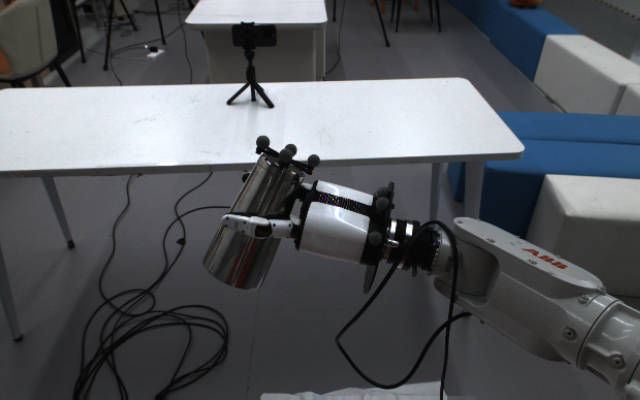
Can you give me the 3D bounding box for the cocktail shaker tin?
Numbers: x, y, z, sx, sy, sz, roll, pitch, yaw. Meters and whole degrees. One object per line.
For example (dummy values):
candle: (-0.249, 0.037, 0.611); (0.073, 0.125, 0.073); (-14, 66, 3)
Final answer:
cocktail shaker tin: (-0.084, 0.024, 0.665); (0.093, 0.170, 0.093); (24, 13, -6)
